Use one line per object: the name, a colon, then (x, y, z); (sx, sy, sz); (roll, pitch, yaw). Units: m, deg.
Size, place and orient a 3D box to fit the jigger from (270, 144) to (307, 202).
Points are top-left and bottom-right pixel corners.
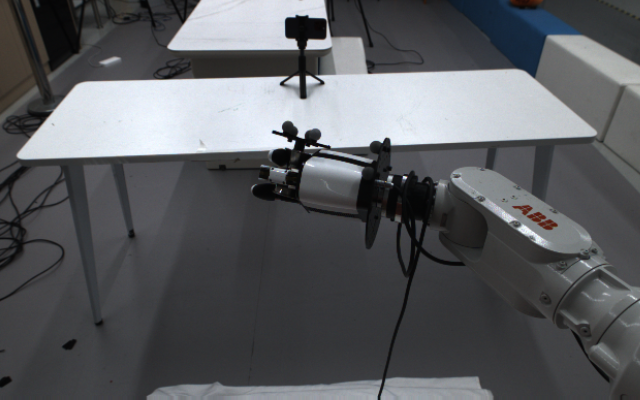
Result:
jigger: (-0.041, -0.040, 0.711); (0.043, 0.071, 0.043); (17, 2, -1)
